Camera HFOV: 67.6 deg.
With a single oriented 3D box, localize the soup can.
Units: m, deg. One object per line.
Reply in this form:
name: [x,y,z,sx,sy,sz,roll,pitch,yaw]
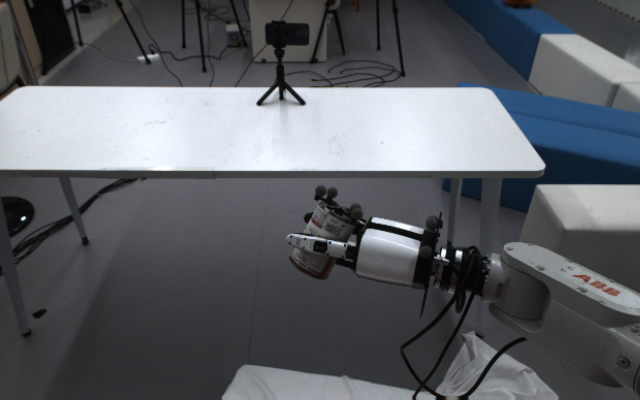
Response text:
soup can: [0.006,0.062,0.740,0.067,0.101,0.067,27,10,-5]
